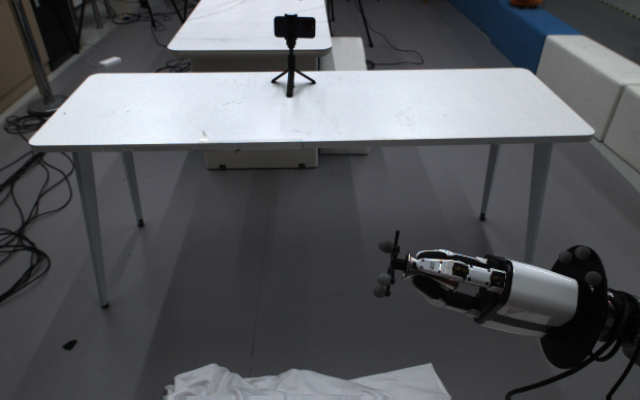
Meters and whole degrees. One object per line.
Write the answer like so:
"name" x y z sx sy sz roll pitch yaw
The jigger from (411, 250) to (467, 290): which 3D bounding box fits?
"jigger" 0.152 0.089 0.636 0.071 0.043 0.043 11 35 3
